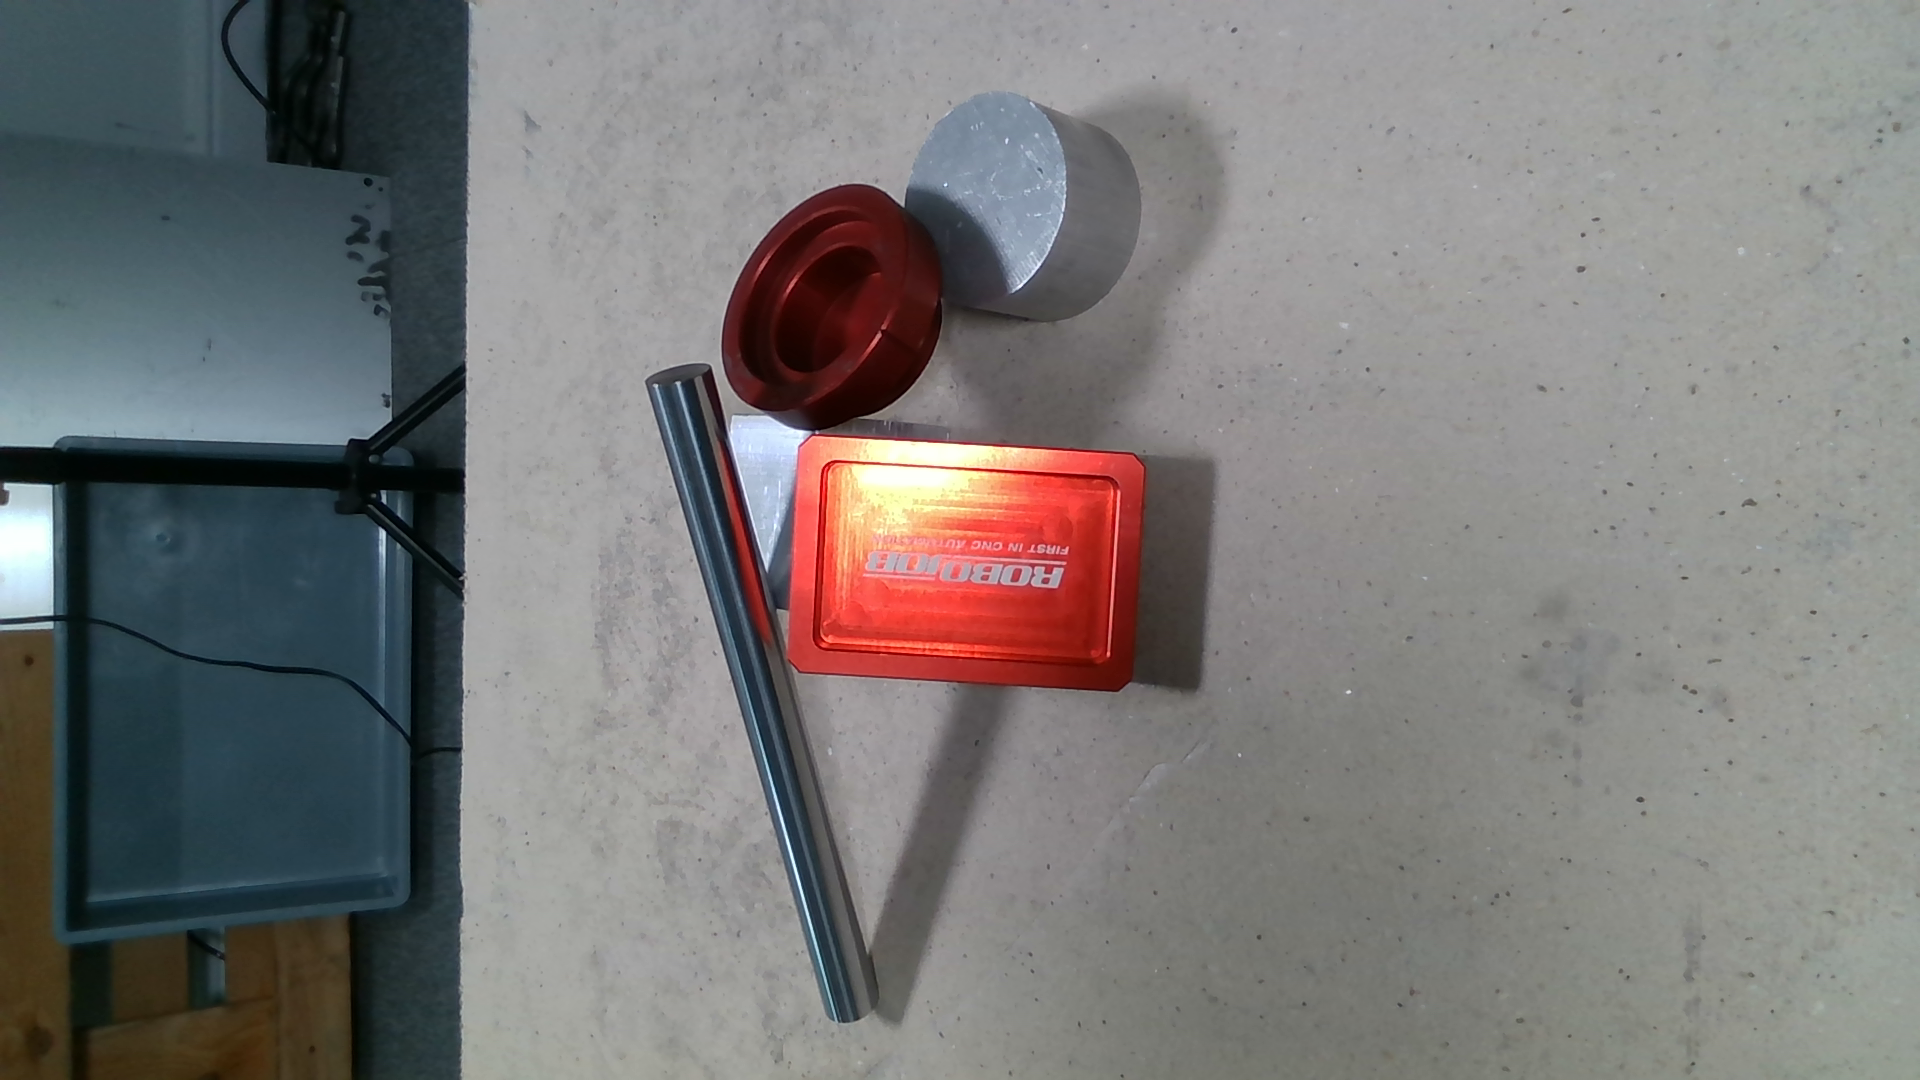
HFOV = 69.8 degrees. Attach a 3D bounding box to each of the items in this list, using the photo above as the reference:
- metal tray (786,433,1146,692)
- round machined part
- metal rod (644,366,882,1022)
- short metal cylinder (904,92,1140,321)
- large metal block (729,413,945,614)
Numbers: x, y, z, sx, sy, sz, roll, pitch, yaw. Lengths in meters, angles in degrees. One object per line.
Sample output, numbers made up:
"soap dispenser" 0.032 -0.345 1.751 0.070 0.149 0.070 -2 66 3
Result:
"metal tray" 0.002 0.008 0.528 0.130 0.030 0.090 3 93 0
"round machined part" -0.047 -0.089 0.552 0.098 0.042 0.098 -17 60 33
"metal rod" -0.077 0.075 0.571 0.025 0.025 0.301 8 120 40
"short metal cylinder" 0.024 -0.130 0.544 0.080 0.050 0.080 0 91 40
"large metal block" -0.054 -0.011 0.591 0.050 0.080 0.080 6 94 40
